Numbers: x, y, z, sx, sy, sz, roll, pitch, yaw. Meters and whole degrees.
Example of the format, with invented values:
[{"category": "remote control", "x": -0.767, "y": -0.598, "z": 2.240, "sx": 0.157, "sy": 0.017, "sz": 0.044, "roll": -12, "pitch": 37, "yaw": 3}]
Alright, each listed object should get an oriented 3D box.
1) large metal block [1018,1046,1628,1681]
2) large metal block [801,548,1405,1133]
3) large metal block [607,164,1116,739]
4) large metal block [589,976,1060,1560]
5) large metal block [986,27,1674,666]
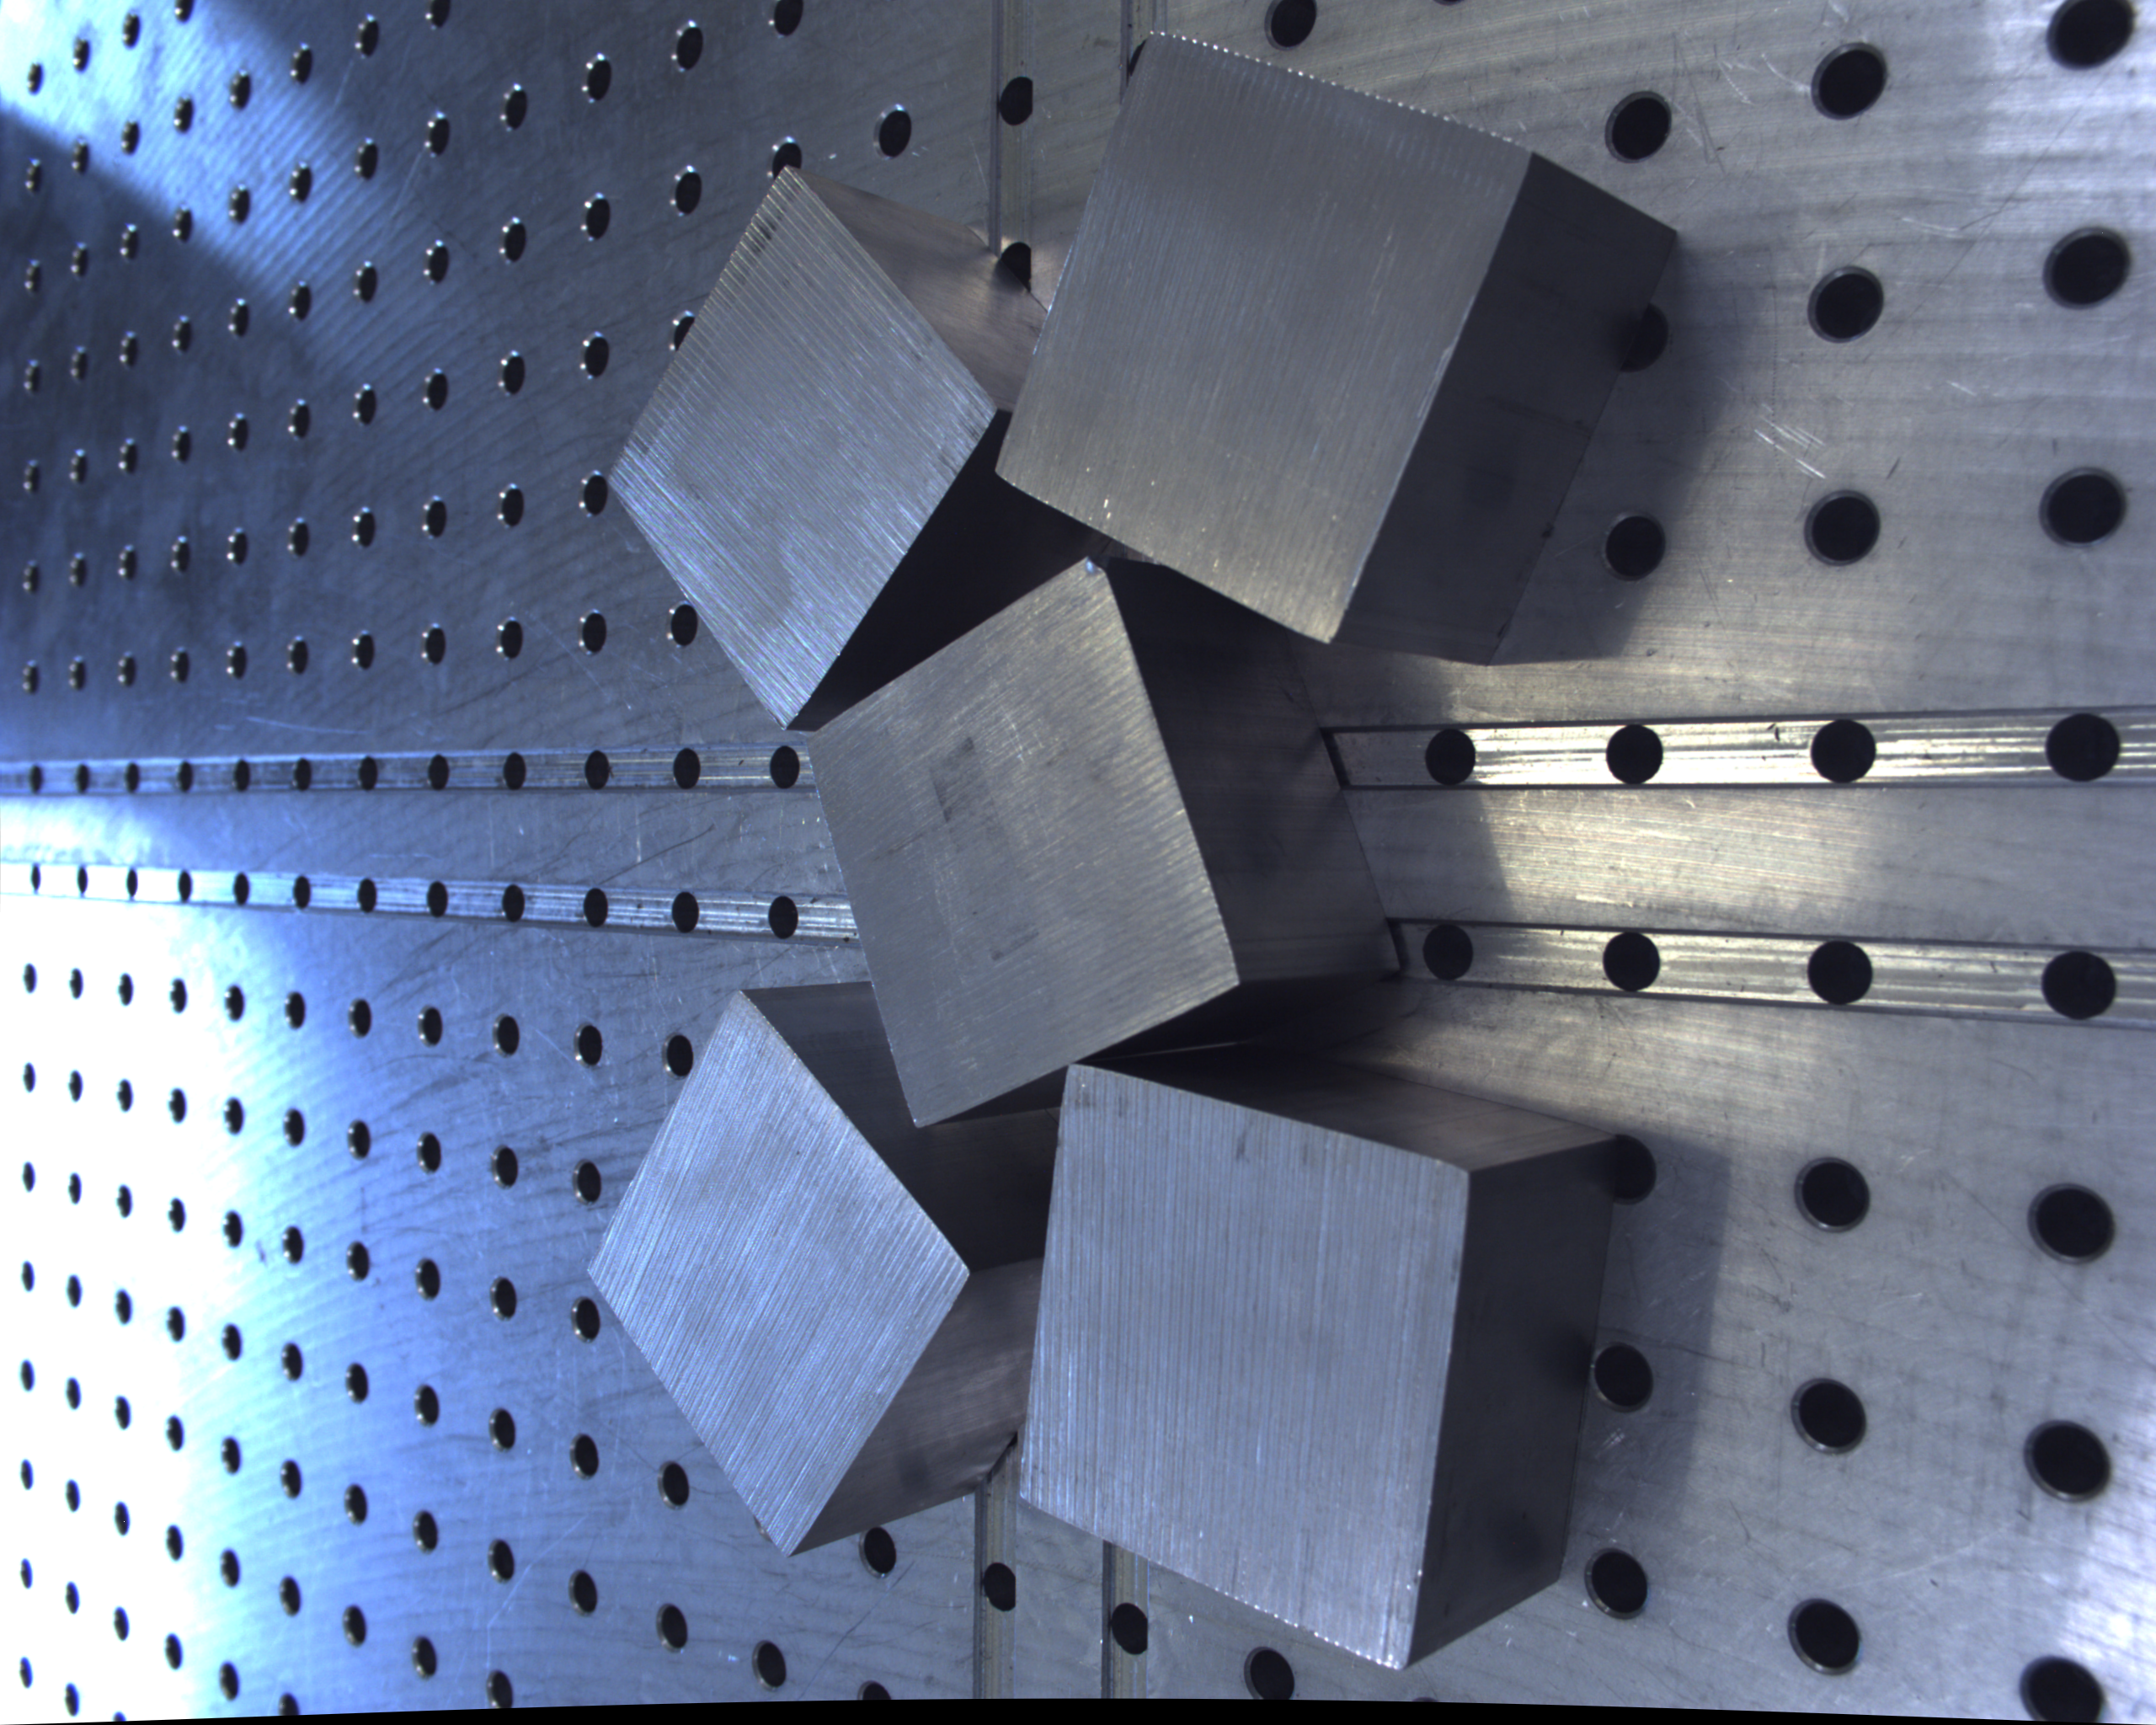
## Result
[{"category": "large metal block", "x": 0.041, "y": 0.080, "z": 0.360, "sx": 0.080, "sy": 0.050, "sz": 0.080, "roll": 12, "pitch": 97, "yaw": 39}, {"category": "large metal block", "x": 0.003, "y": -0.002, "z": 0.391, "sx": 0.080, "sy": 0.050, "sz": 0.080, "roll": -28, "pitch": 72, "yaw": 36}, {"category": "large metal block", "x": -0.041, "y": -0.081, "z": 0.428, "sx": 0.080, "sy": 0.050, "sz": 0.080, "roll": -52, "pitch": 59, "yaw": 28}, {"category": "large metal block", "x": -0.045, "y": 0.080, "z": 0.430, "sx": 0.080, "sy": 0.050, "sz": 0.080, "roll": 45, "pitch": 117, "yaw": 31}, {"category": "large metal block", "x": 0.041, "y": -0.087, "z": 0.358, "sx": 0.080, "sy": 0.050, "sz": 0.080, "roll": 31, "pitch": 110, "yaw": 33}]
